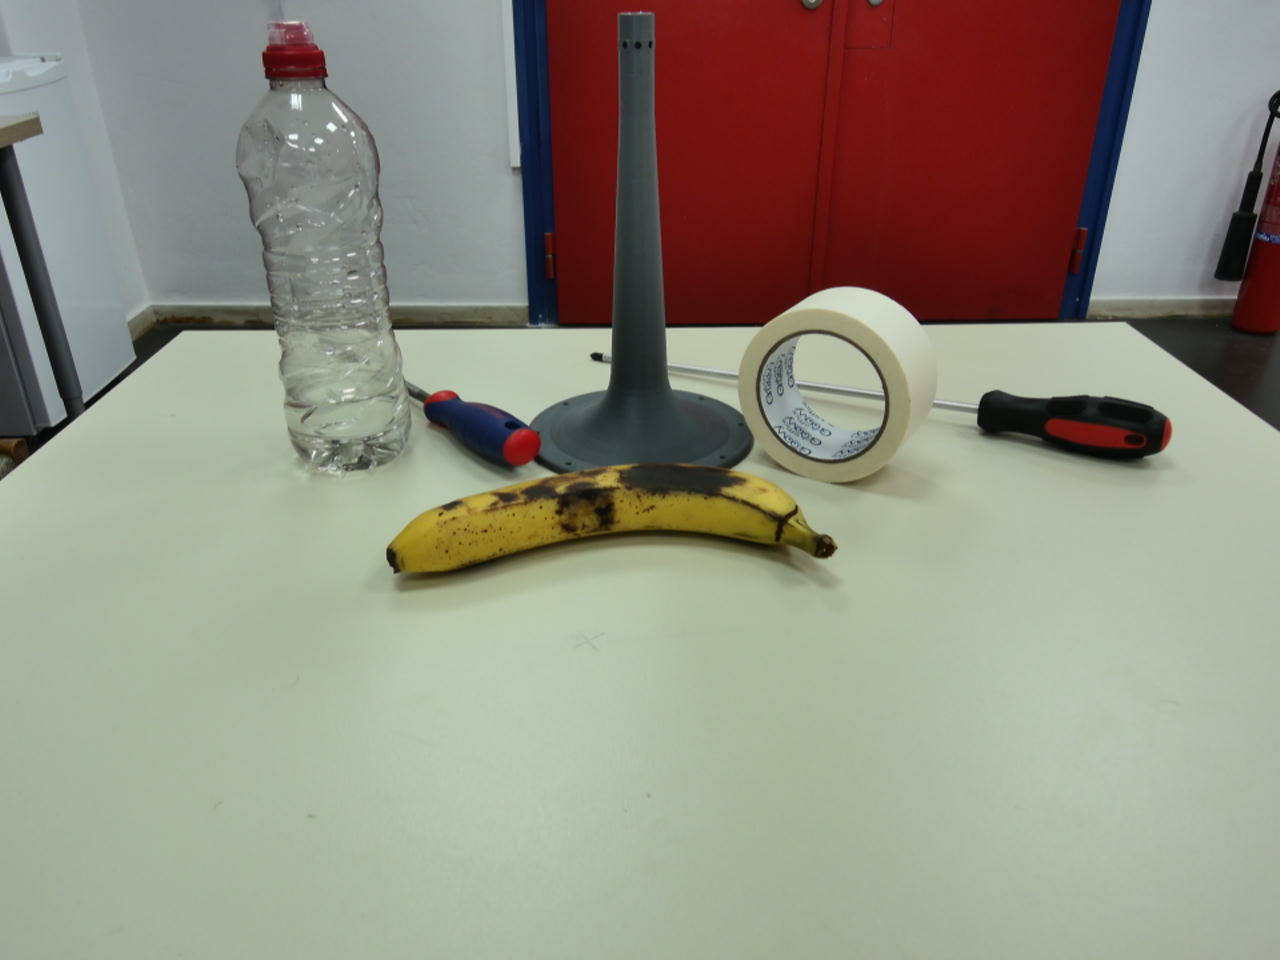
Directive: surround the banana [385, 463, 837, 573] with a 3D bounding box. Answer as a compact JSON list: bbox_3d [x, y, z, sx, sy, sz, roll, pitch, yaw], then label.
[{"bbox_3d":[-0.015,0.019,0.524,0.222,0.037,0.084,0,26,0],"label":"banana"}]
